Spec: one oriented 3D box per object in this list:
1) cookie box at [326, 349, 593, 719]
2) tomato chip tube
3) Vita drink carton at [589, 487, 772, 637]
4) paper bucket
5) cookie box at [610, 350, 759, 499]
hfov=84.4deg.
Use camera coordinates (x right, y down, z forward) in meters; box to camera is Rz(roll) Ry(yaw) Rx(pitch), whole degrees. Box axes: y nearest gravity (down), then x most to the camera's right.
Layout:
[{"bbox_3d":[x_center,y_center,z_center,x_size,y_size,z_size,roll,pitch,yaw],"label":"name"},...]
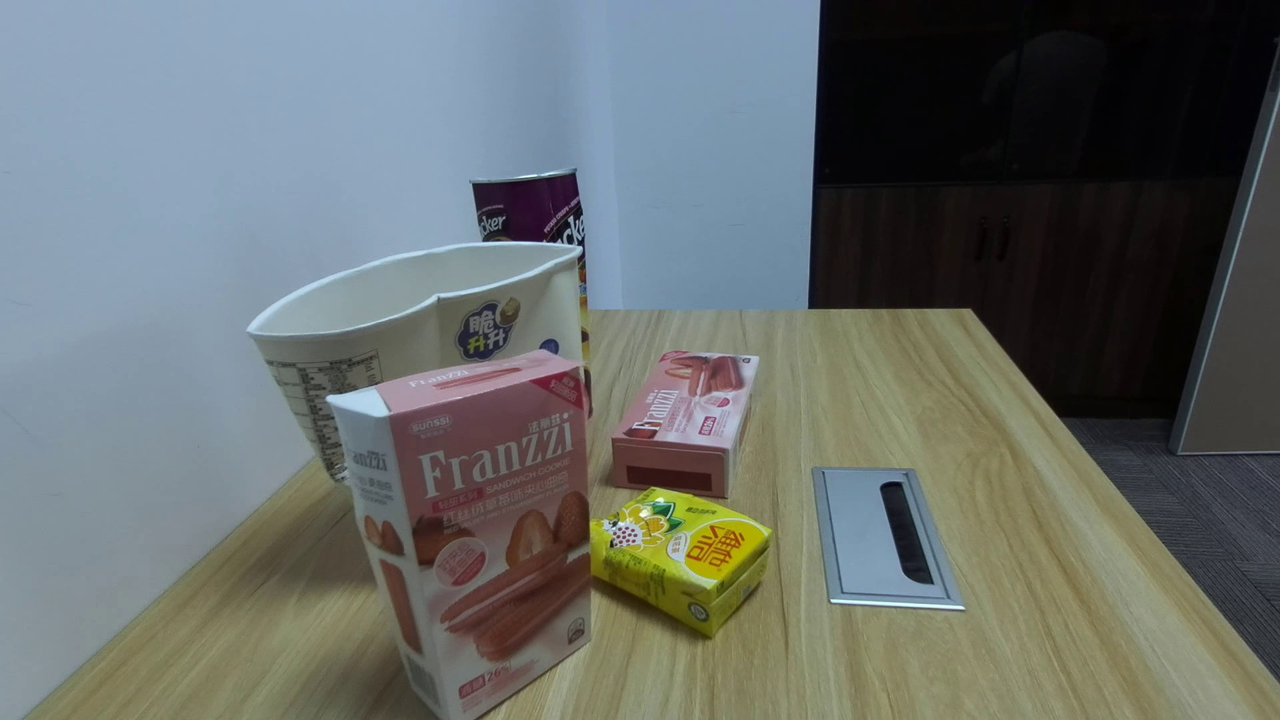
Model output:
[{"bbox_3d":[-0.079,0.092,0.375,0.119,0.184,0.055,-18,28,-32],"label":"cookie box"},{"bbox_3d":[-0.092,-0.055,0.660,0.077,0.235,0.076,7,24,23],"label":"tomato chip tube"},{"bbox_3d":[0.024,0.126,0.459,0.107,0.042,0.087,14,34,43],"label":"Vita drink carton"},{"bbox_3d":[-0.128,0.028,0.510,0.147,0.199,0.218,3,24,15],"label":"paper bucket"},{"bbox_3d":[0.048,0.050,0.627,0.096,0.048,0.184,4,24,15],"label":"cookie box"}]
